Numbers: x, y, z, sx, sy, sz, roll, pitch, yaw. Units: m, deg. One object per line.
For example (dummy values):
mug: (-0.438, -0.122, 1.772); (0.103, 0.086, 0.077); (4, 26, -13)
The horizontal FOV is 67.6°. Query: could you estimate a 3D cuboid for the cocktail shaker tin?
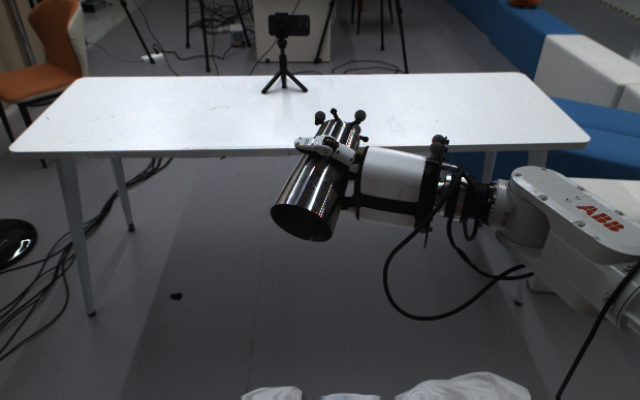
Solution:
cocktail shaker tin: (0.001, -0.037, 0.703); (0.093, 0.093, 0.170); (14, 57, 16)
